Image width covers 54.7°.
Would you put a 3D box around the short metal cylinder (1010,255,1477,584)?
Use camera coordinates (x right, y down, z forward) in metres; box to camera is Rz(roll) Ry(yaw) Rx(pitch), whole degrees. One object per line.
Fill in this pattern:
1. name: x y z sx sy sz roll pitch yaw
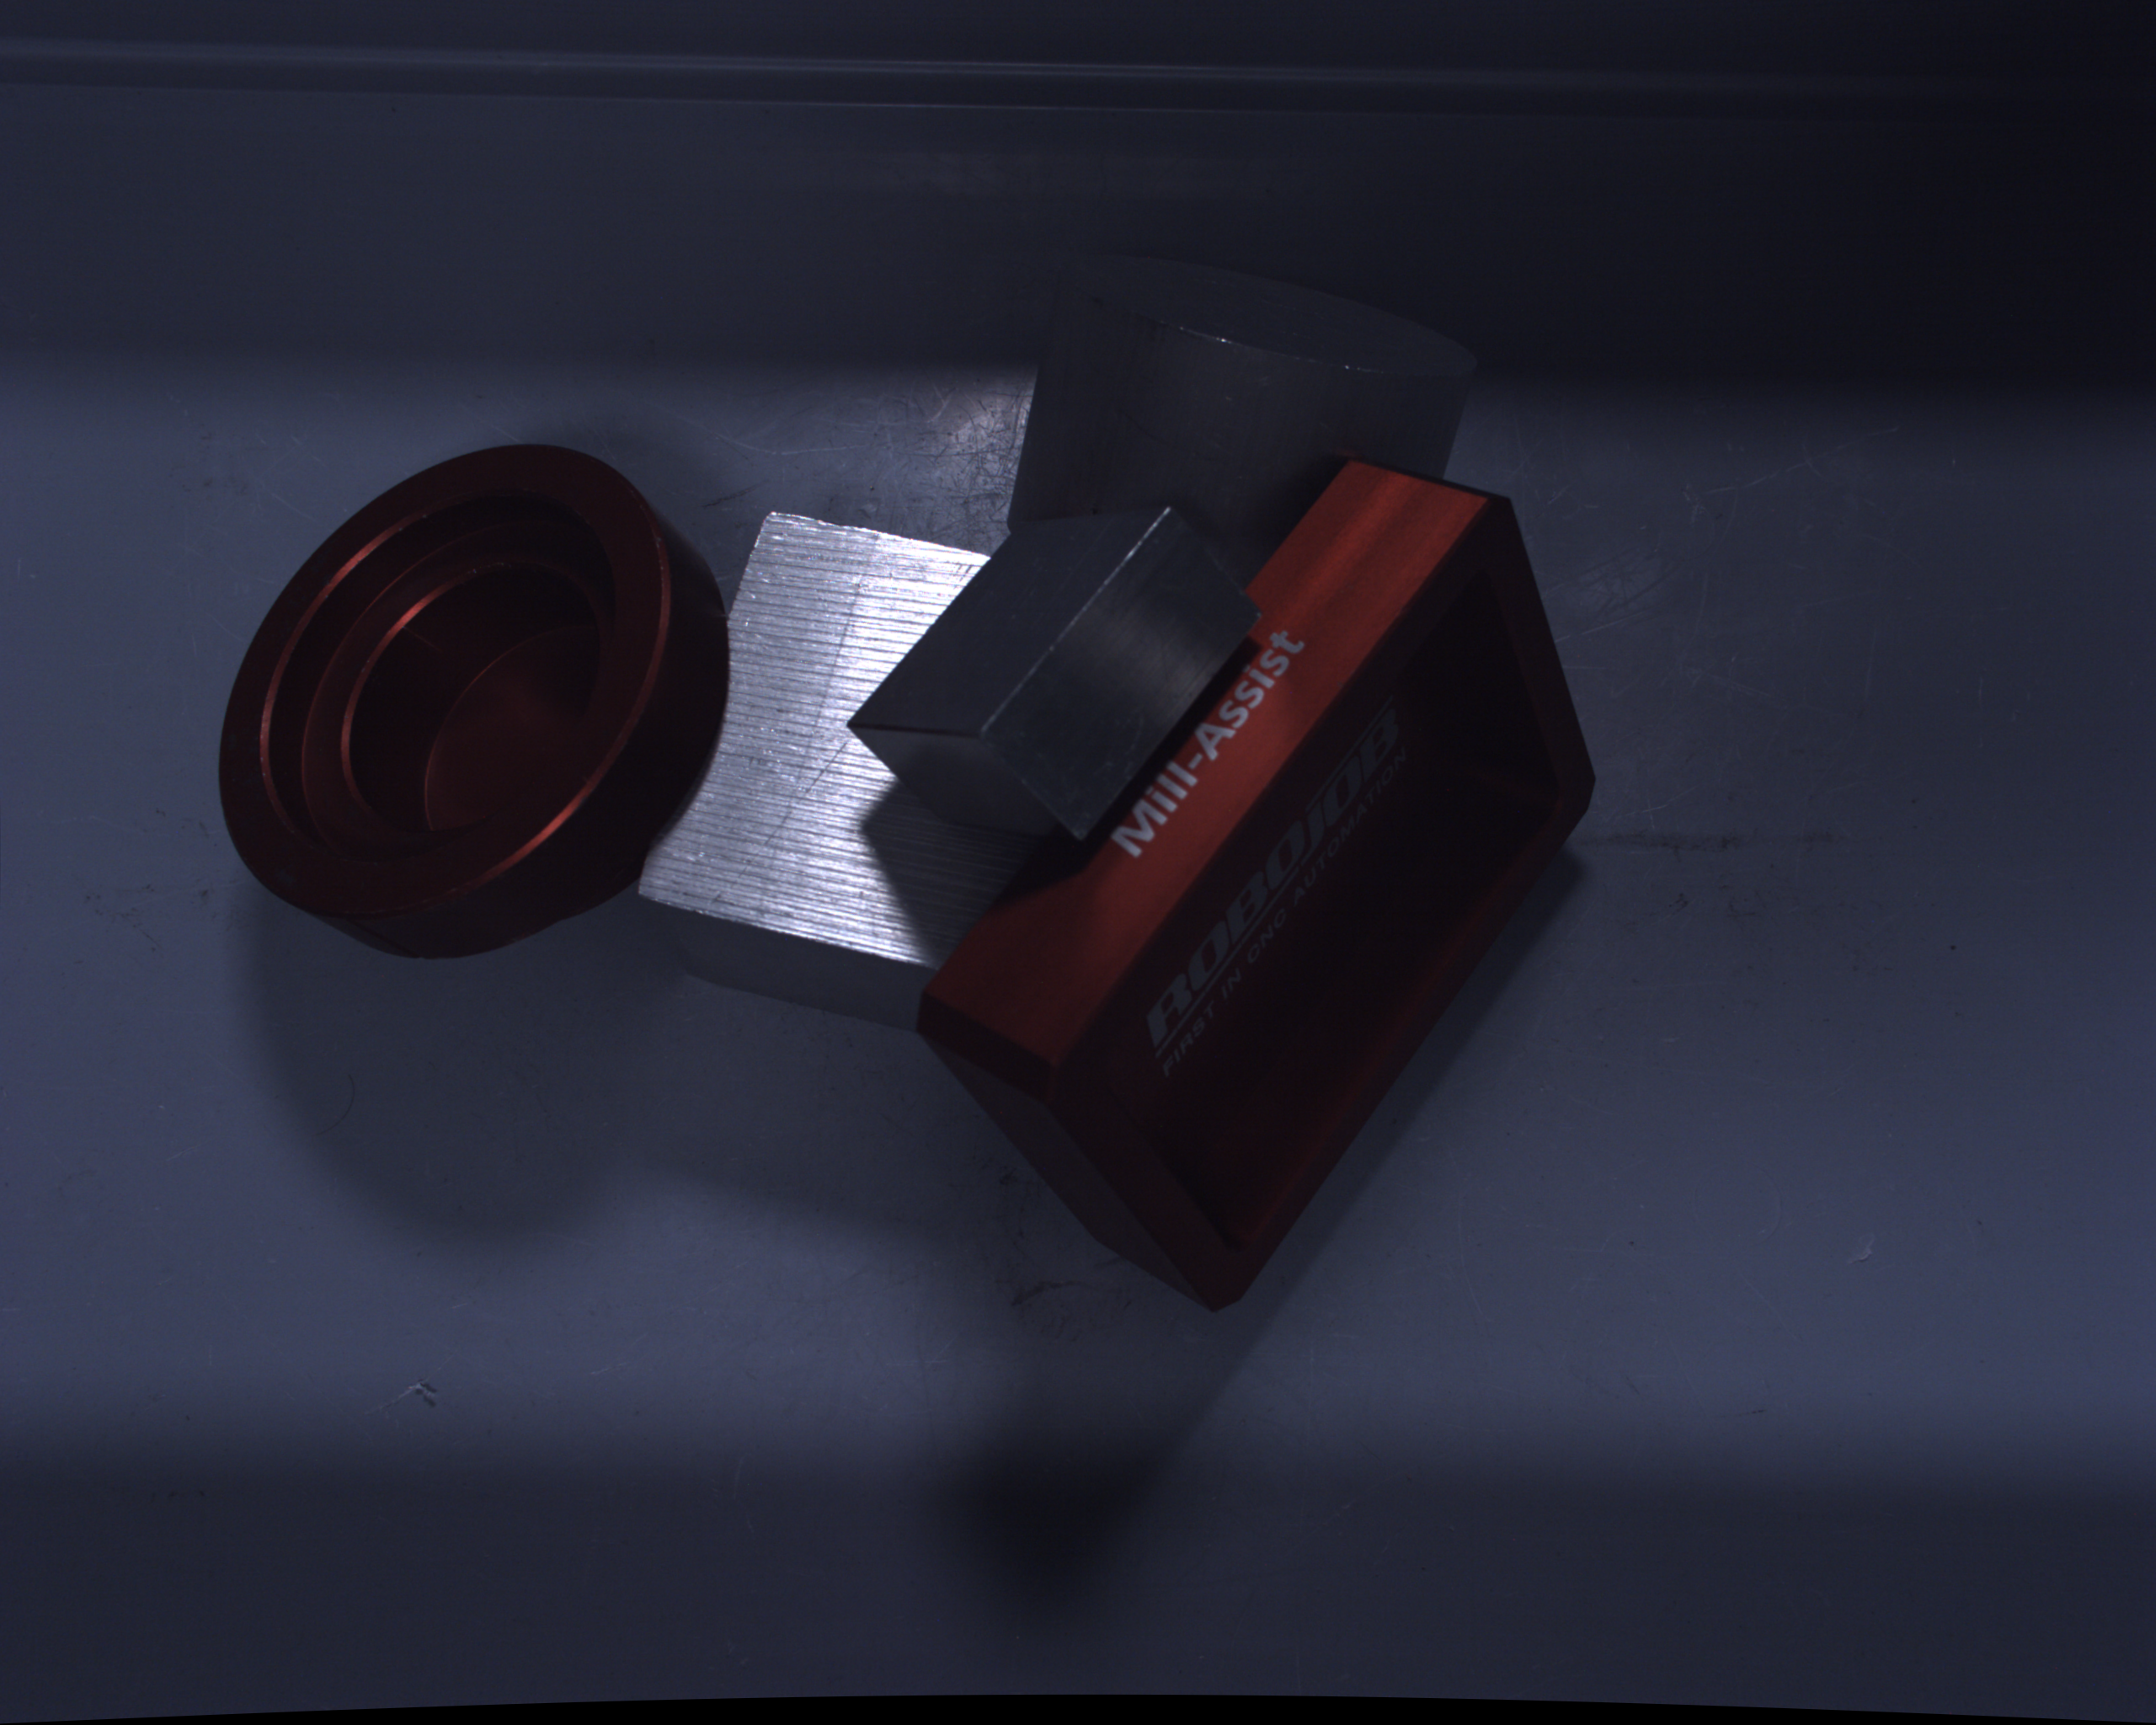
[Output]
1. short metal cylinder: 0.031 -0.082 0.402 0.080 0.080 0.050 15 115 5

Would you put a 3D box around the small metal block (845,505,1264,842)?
1. small metal block: -0.005 -0.032 0.352 0.025 0.050 0.050 47 73 -25

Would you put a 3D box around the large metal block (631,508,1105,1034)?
1. large metal block: -0.029 -0.013 0.399 0.080 0.050 0.080 14 71 4

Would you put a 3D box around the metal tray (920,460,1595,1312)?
1. metal tray: 0.038 0.005 0.371 0.030 0.090 0.130 25 69 37

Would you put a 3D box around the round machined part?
1. round machined part: -0.108 -0.027 0.395 0.098 0.042 0.098 -10 63 20
